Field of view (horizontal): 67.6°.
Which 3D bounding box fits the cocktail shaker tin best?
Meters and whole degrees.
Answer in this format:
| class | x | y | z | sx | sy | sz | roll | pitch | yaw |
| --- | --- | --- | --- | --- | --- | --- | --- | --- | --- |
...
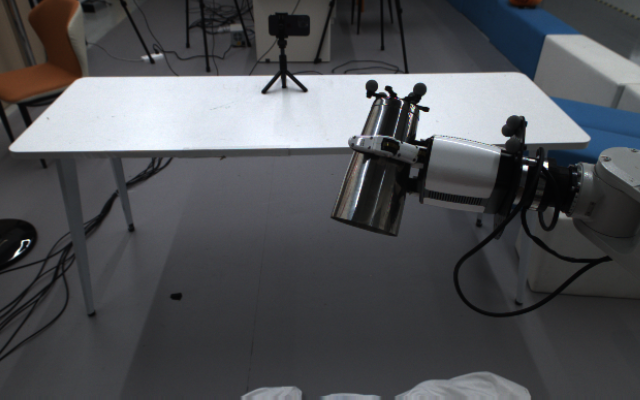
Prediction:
| class | x | y | z | sx | sy | sz | roll | pitch | yaw |
| --- | --- | --- | --- | --- | --- | --- | --- | --- | --- |
| cocktail shaker tin | 0.080 | -0.046 | 0.649 | 0.093 | 0.170 | 0.093 | 16 | -6 | 2 |
